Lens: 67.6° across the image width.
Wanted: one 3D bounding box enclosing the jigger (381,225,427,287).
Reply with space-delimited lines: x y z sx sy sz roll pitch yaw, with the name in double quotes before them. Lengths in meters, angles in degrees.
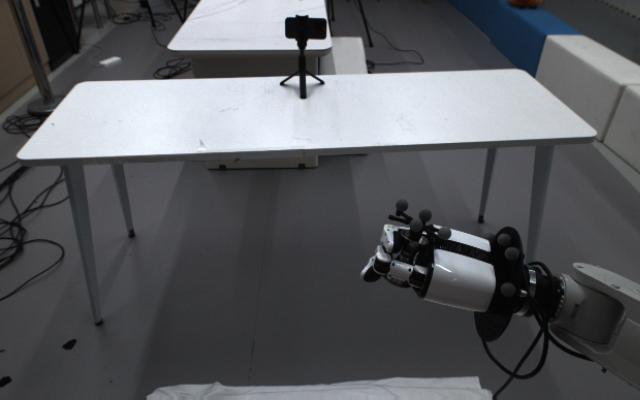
"jigger" 0.118 0.080 0.664 0.043 0.071 0.043 18 17 -6
